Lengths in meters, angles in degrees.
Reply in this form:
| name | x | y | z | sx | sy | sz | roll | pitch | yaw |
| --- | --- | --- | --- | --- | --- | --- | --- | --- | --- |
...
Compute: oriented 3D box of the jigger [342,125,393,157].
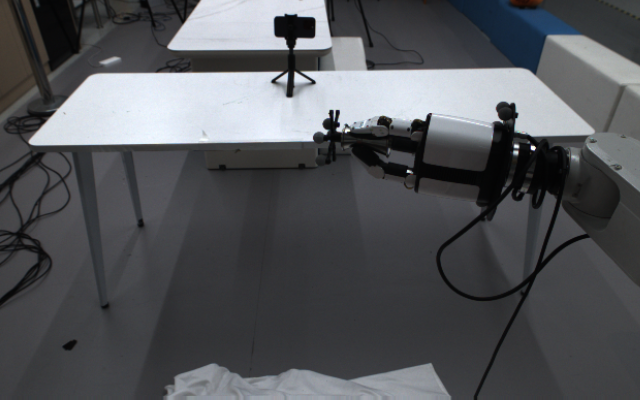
| name | x | y | z | sx | sy | sz | roll | pitch | yaw |
| --- | --- | --- | --- | --- | --- | --- | --- | --- | --- |
| jigger | 0.074 | -0.092 | 0.697 | 0.071 | 0.043 | 0.043 | 8 | 35 | 14 |
